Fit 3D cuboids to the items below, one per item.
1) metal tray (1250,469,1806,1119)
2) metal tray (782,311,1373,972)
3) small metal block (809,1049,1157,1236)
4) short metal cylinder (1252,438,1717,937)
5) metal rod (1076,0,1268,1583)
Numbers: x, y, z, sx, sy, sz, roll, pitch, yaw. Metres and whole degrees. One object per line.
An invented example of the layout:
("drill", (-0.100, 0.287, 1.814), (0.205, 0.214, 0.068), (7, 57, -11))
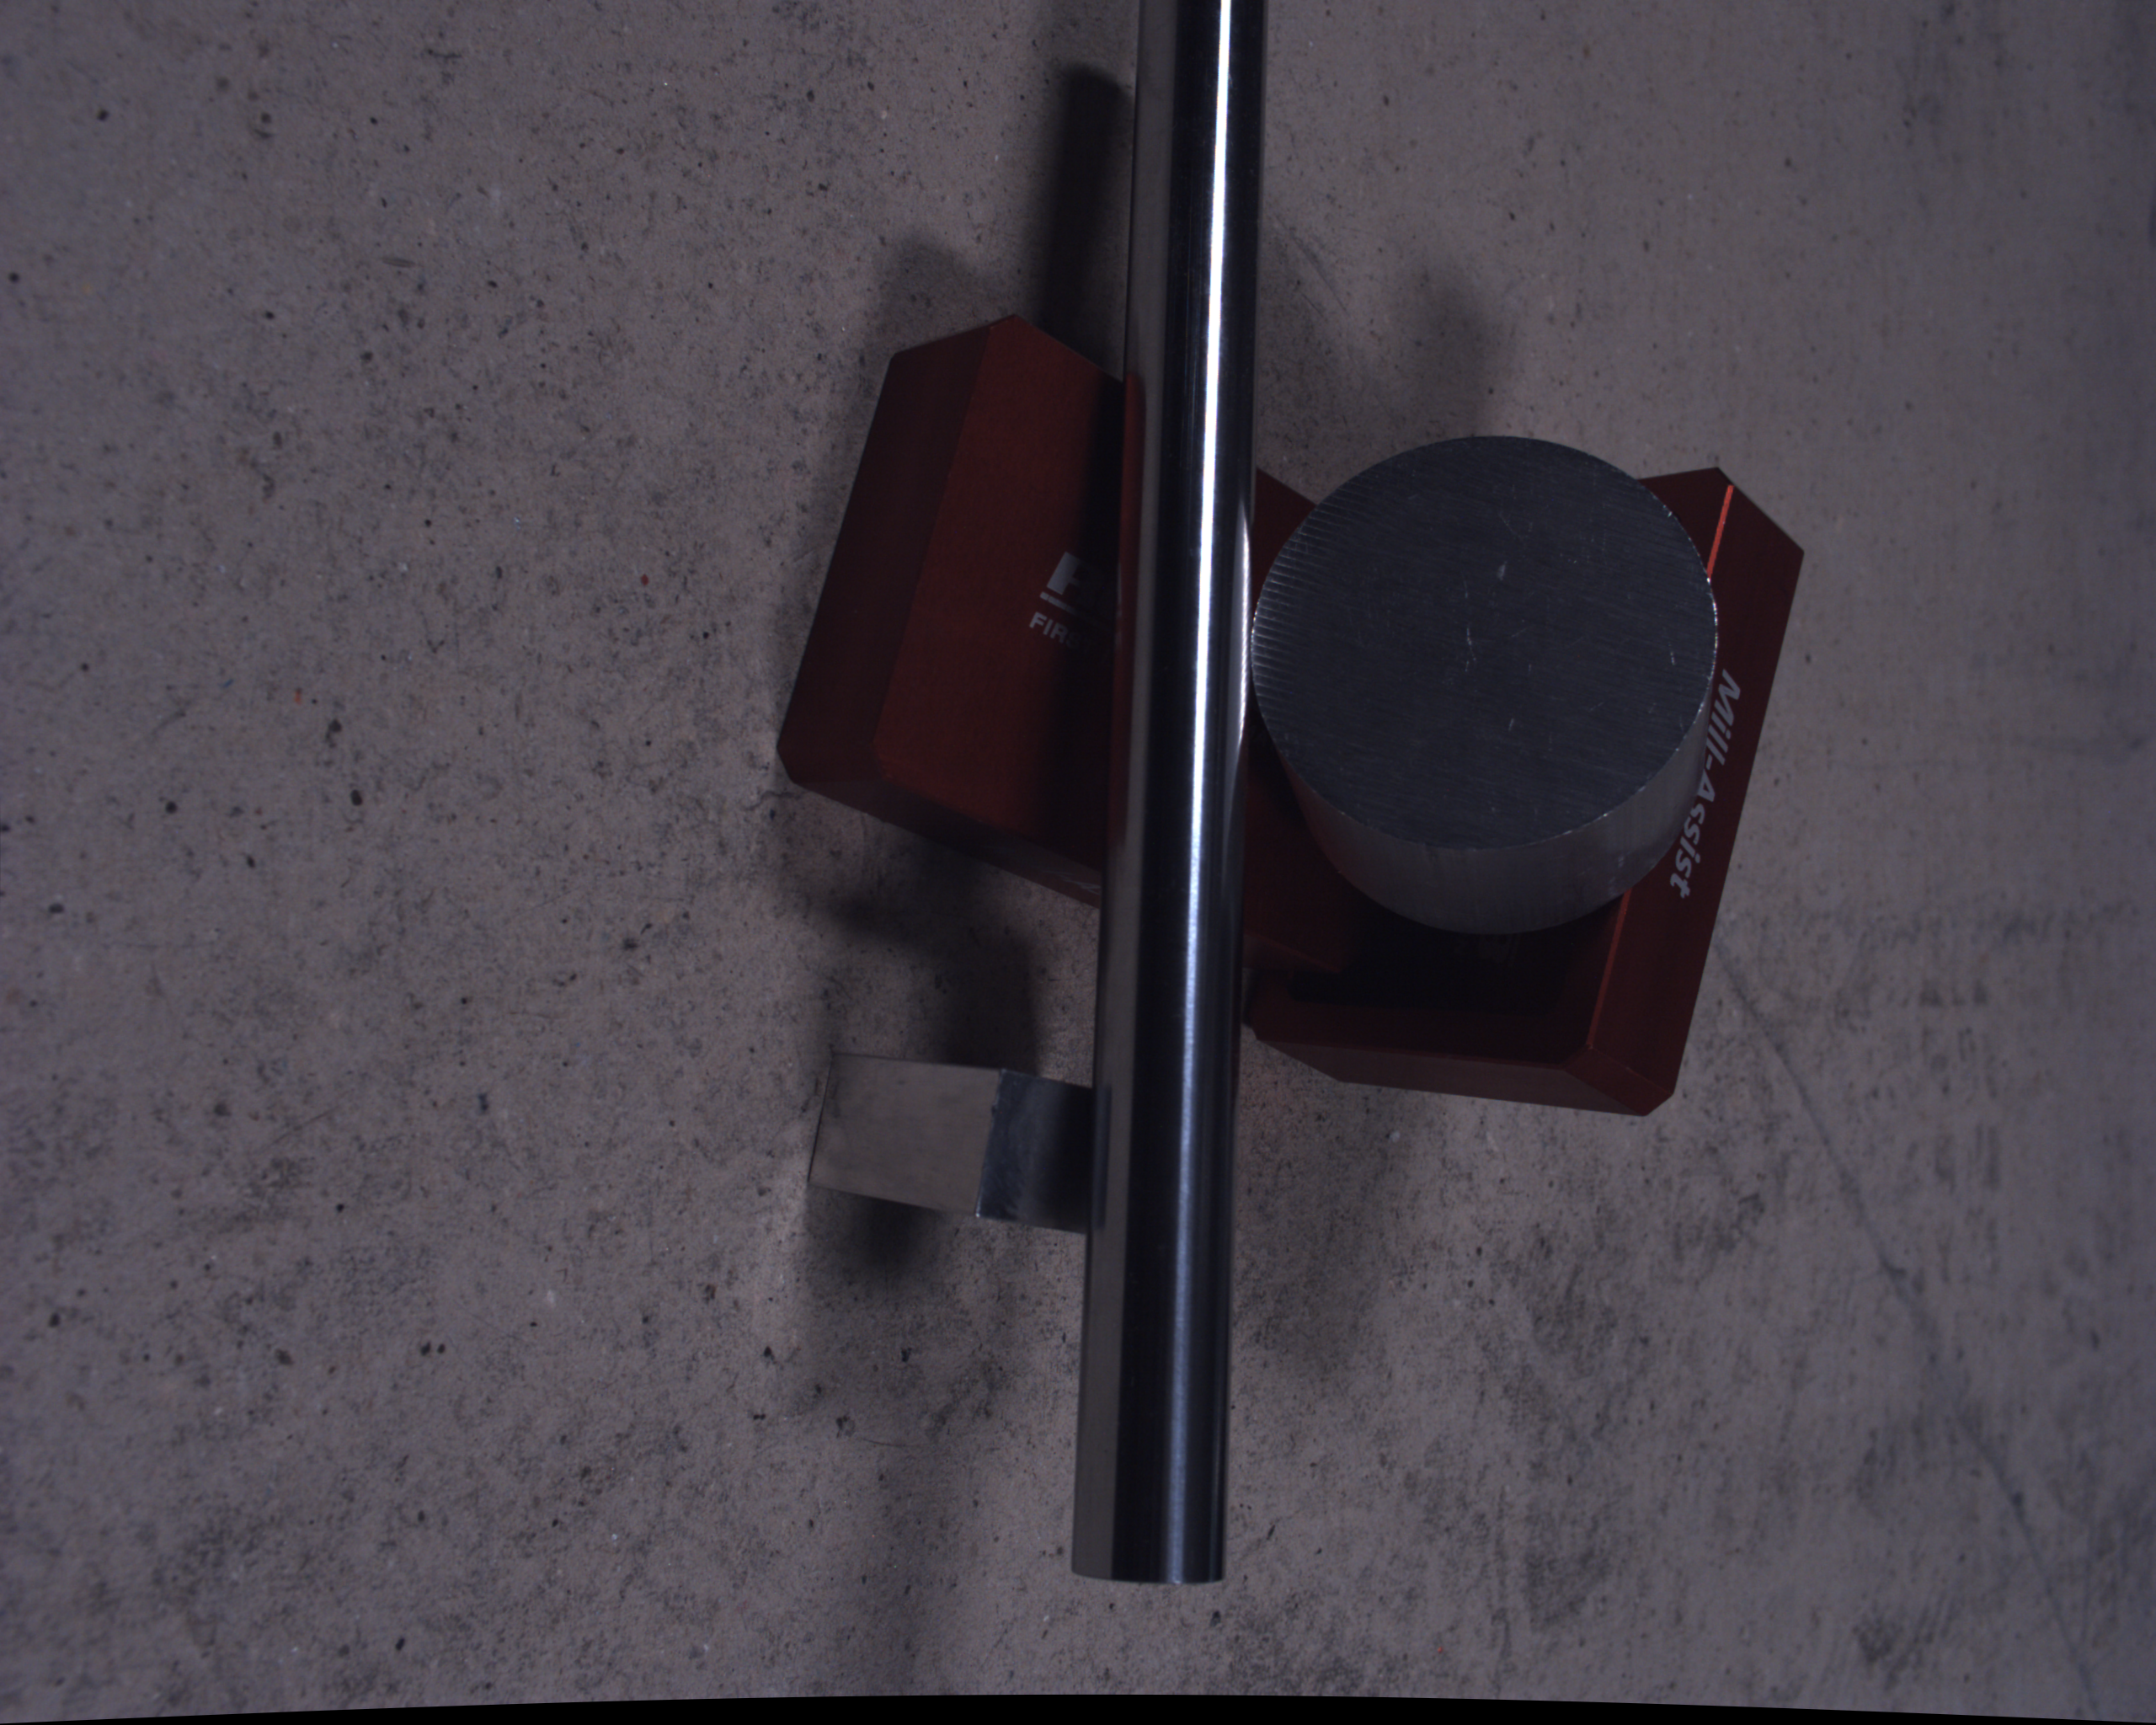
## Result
("metal tray", (0.095, -0.015, 0.446), (0.030, 0.090, 0.130), (29, 72, -37))
("metal tray", (0.013, -0.039, 0.415), (0.131, 0.030, 0.090), (23, 75, -38))
("small metal block", (-0.012, 0.052, 0.381), (0.050, 0.050, 0.025), (16, 80, -39))
("short metal cylinder", (0.076, -0.031, 0.388), (0.050, 0.080, 0.080), (54, 51, -66))
("metal rod", (0.019, -0.030, 0.373), (0.025, 0.025, 0.299), (14, 72, -40))
